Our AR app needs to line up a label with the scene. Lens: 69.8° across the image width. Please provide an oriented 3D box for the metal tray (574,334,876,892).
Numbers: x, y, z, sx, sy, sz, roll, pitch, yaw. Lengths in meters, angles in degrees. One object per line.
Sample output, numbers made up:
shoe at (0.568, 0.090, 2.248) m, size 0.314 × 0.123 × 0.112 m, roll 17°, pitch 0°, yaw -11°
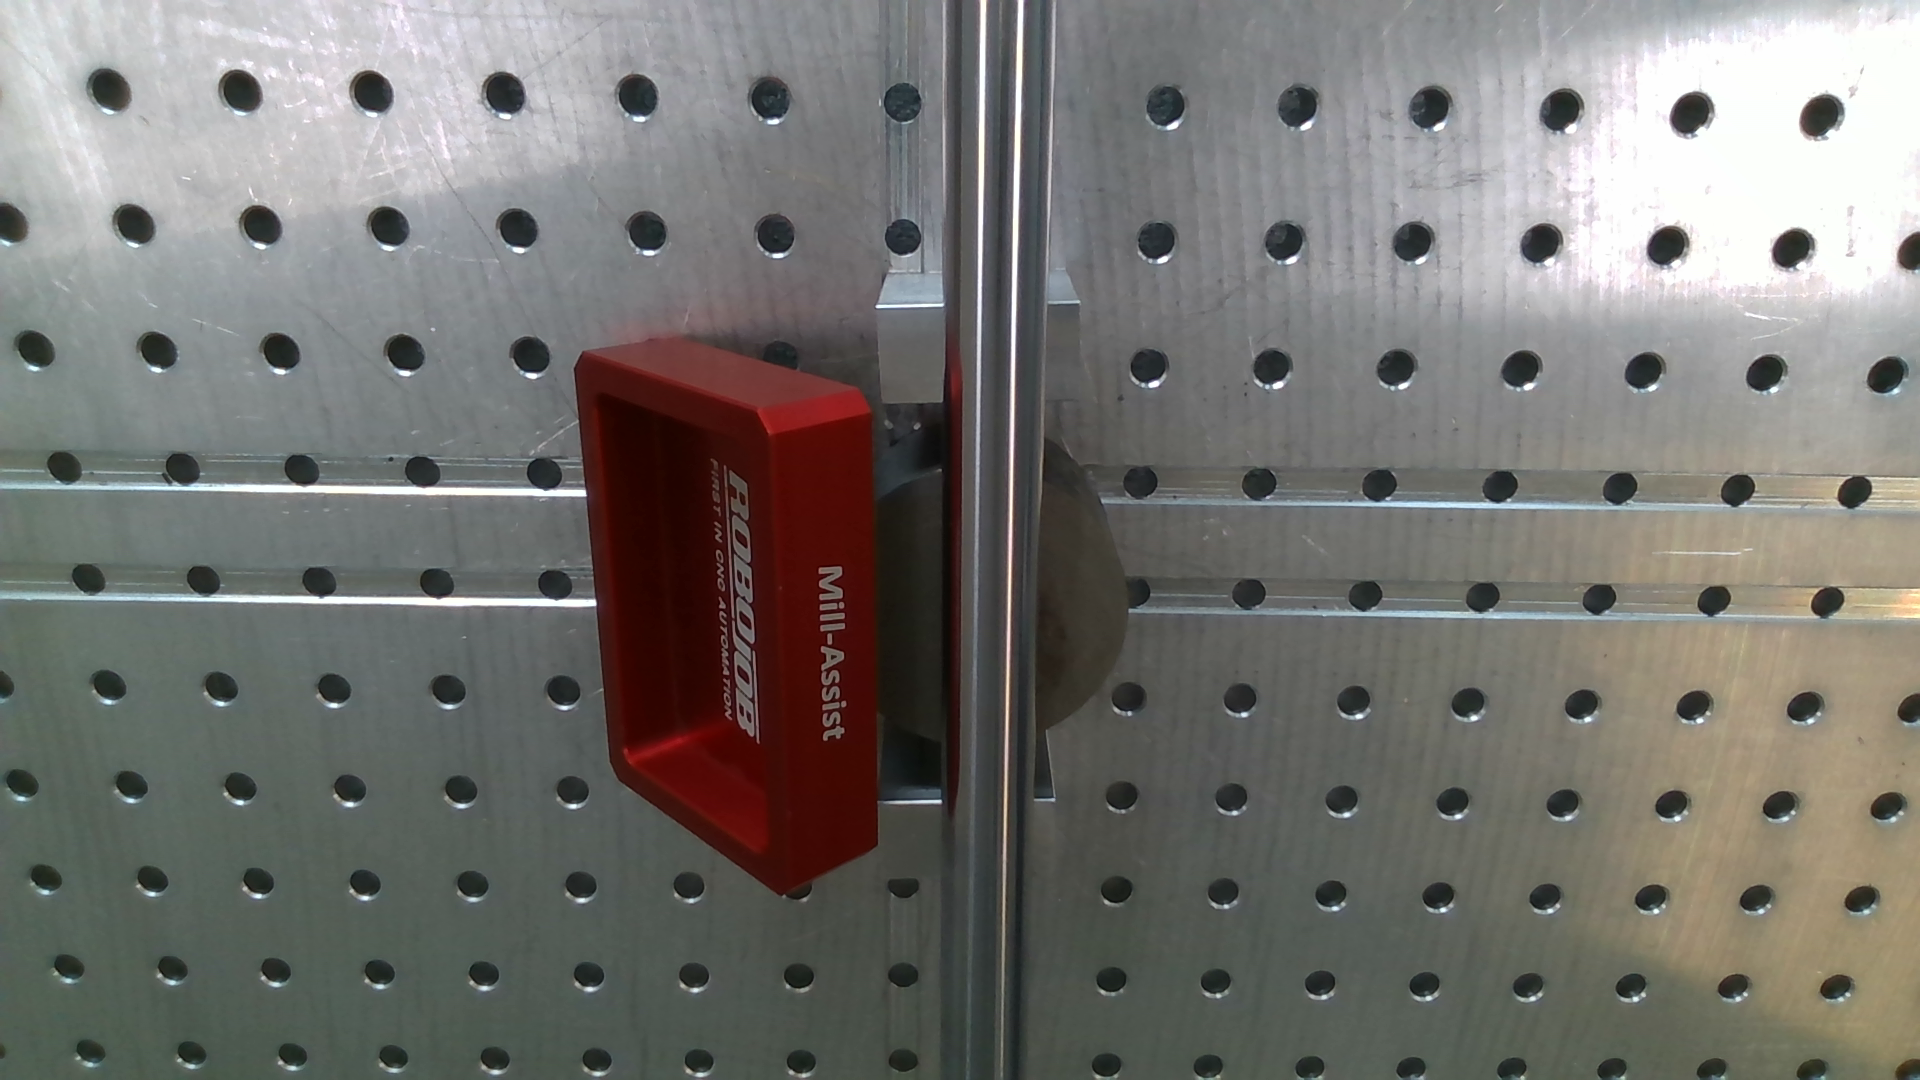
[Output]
metal tray at (-0.063, 0.017, 0.370) m, size 0.030 × 0.090 × 0.130 m, roll -18°, pitch 117°, yaw -40°

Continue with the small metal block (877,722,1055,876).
small metal block at (0.002, 0.075, 0.411) m, size 0.050 × 0.050 × 0.025 m, roll -1°, pitch 110°, yaw 0°

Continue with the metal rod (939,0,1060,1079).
metal rod at (0.008, 0.013, 0.347) m, size 0.025 × 0.025 × 0.301 m, roll 1°, pitch 110°, yaw 0°

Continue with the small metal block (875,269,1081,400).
small metal block at (0.005, -0.056, 0.363) m, size 0.050 × 0.050 × 0.025 m, roll -1°, pitch 110°, yaw 0°

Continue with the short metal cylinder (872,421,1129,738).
short metal cylinder at (0.004, 0.010, 0.386) m, size 0.080 × 0.050 × 0.080 m, roll 0°, pitch 110°, yaw 0°
